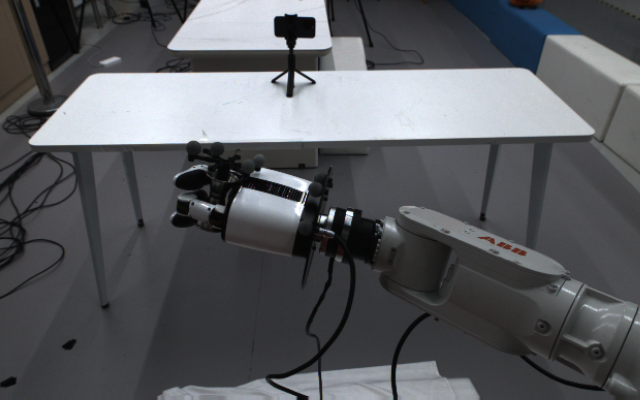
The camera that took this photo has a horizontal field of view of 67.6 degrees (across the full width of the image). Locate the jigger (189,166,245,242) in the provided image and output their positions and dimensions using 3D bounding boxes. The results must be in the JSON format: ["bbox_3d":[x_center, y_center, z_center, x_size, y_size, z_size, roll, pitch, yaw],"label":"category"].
[{"bbox_3d":[-0.126,0.001,0.610,0.043,0.071,0.043,15,17,-5],"label":"jigger"}]
